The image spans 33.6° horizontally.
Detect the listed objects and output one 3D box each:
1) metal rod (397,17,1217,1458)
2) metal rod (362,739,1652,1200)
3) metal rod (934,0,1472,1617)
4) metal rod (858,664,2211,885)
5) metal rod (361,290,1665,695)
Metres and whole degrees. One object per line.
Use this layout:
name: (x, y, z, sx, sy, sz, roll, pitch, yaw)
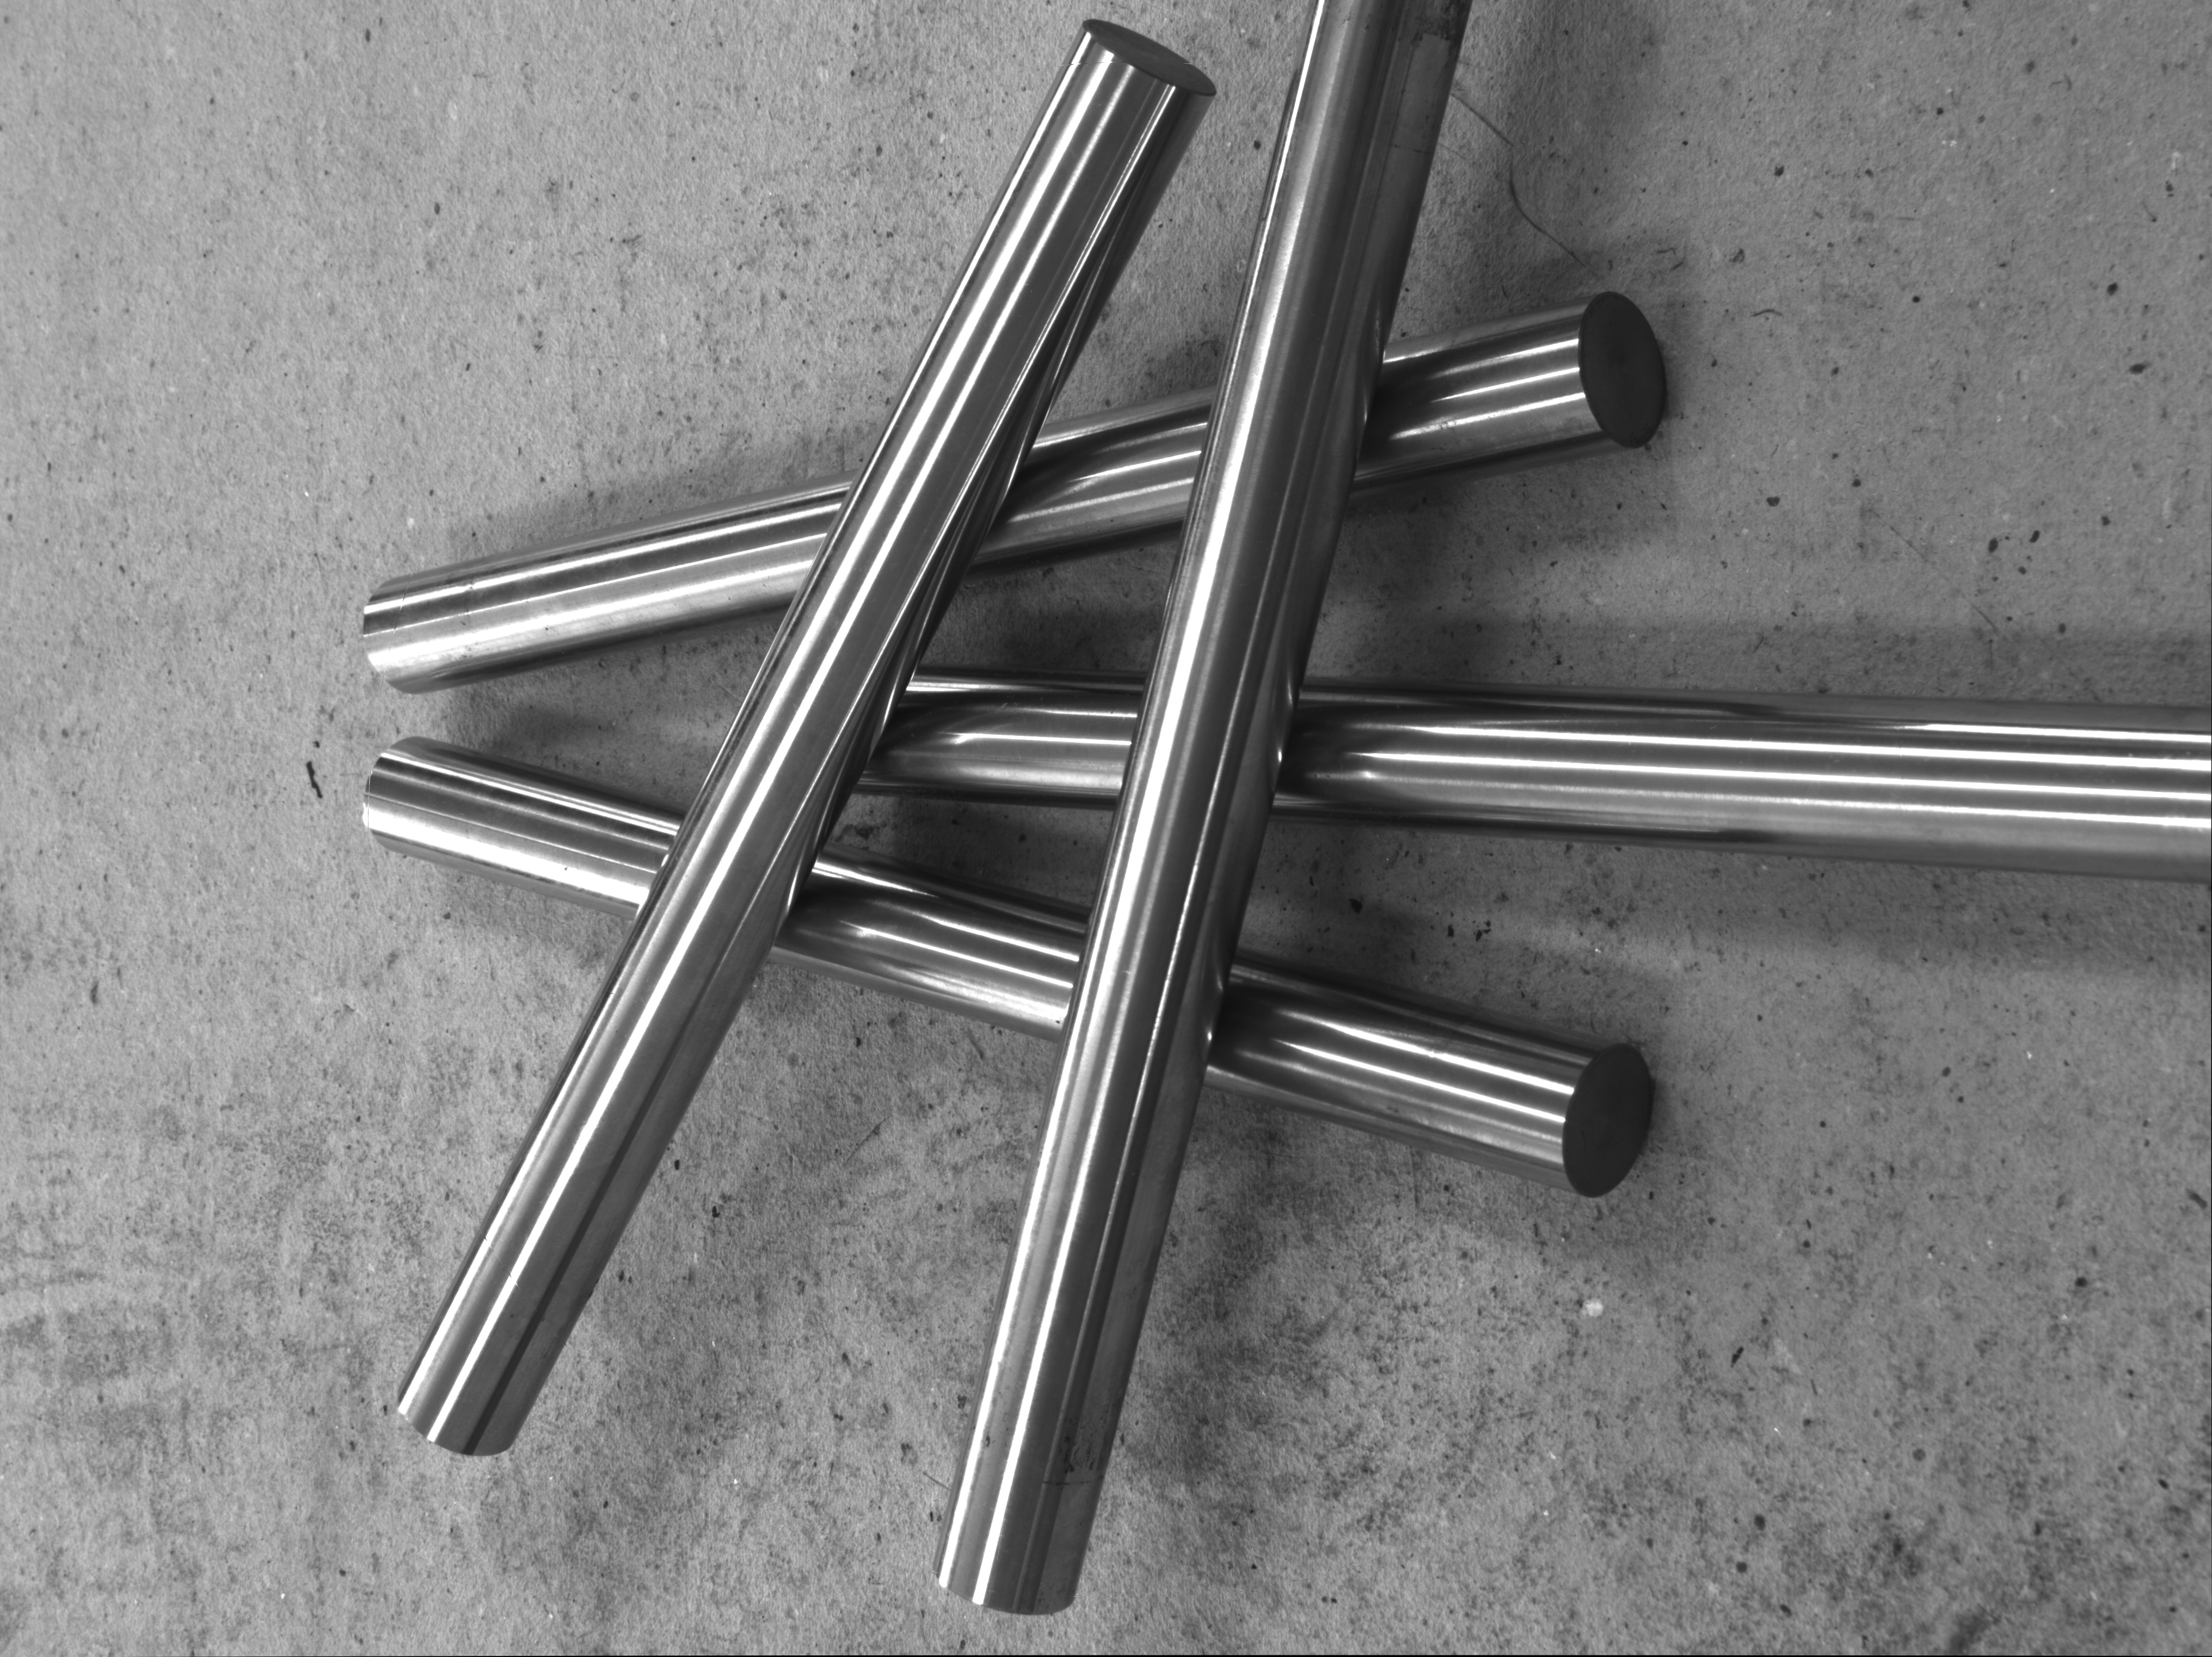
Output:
metal rod: (-0.060, -0.006, 0.663, 0.025, 0.025, 0.300, 43, 116, 32)
metal rod: (-0.033, 0.020, 0.673, 0.299, 0.025, 0.025, 13, 98, 39)
metal rod: (0.017, -0.014, 0.598, 0.025, 0.025, 0.300, 22, 104, 38)
metal rod: (0.066, -0.011, 0.590, 0.299, 0.025, 0.025, 4, 93, 40)
metal rod: (-0.032, -0.056, 0.673, 0.299, 0.025, 0.025, -8, 85, 40)
